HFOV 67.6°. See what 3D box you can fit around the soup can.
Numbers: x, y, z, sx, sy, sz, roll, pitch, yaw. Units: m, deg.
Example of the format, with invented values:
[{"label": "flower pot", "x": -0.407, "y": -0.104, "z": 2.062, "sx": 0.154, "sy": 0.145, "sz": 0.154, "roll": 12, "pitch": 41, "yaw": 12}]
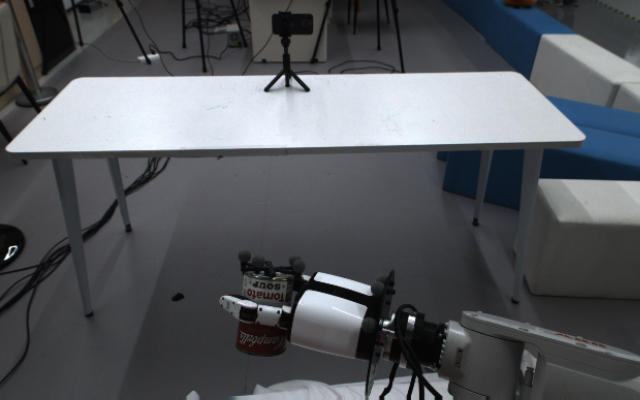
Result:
[{"label": "soup can", "x": -0.072, "y": 0.147, "z": 0.640, "sx": 0.067, "sy": 0.101, "sz": 0.067, "roll": 7, "pitch": 3, "yaw": 0}]
